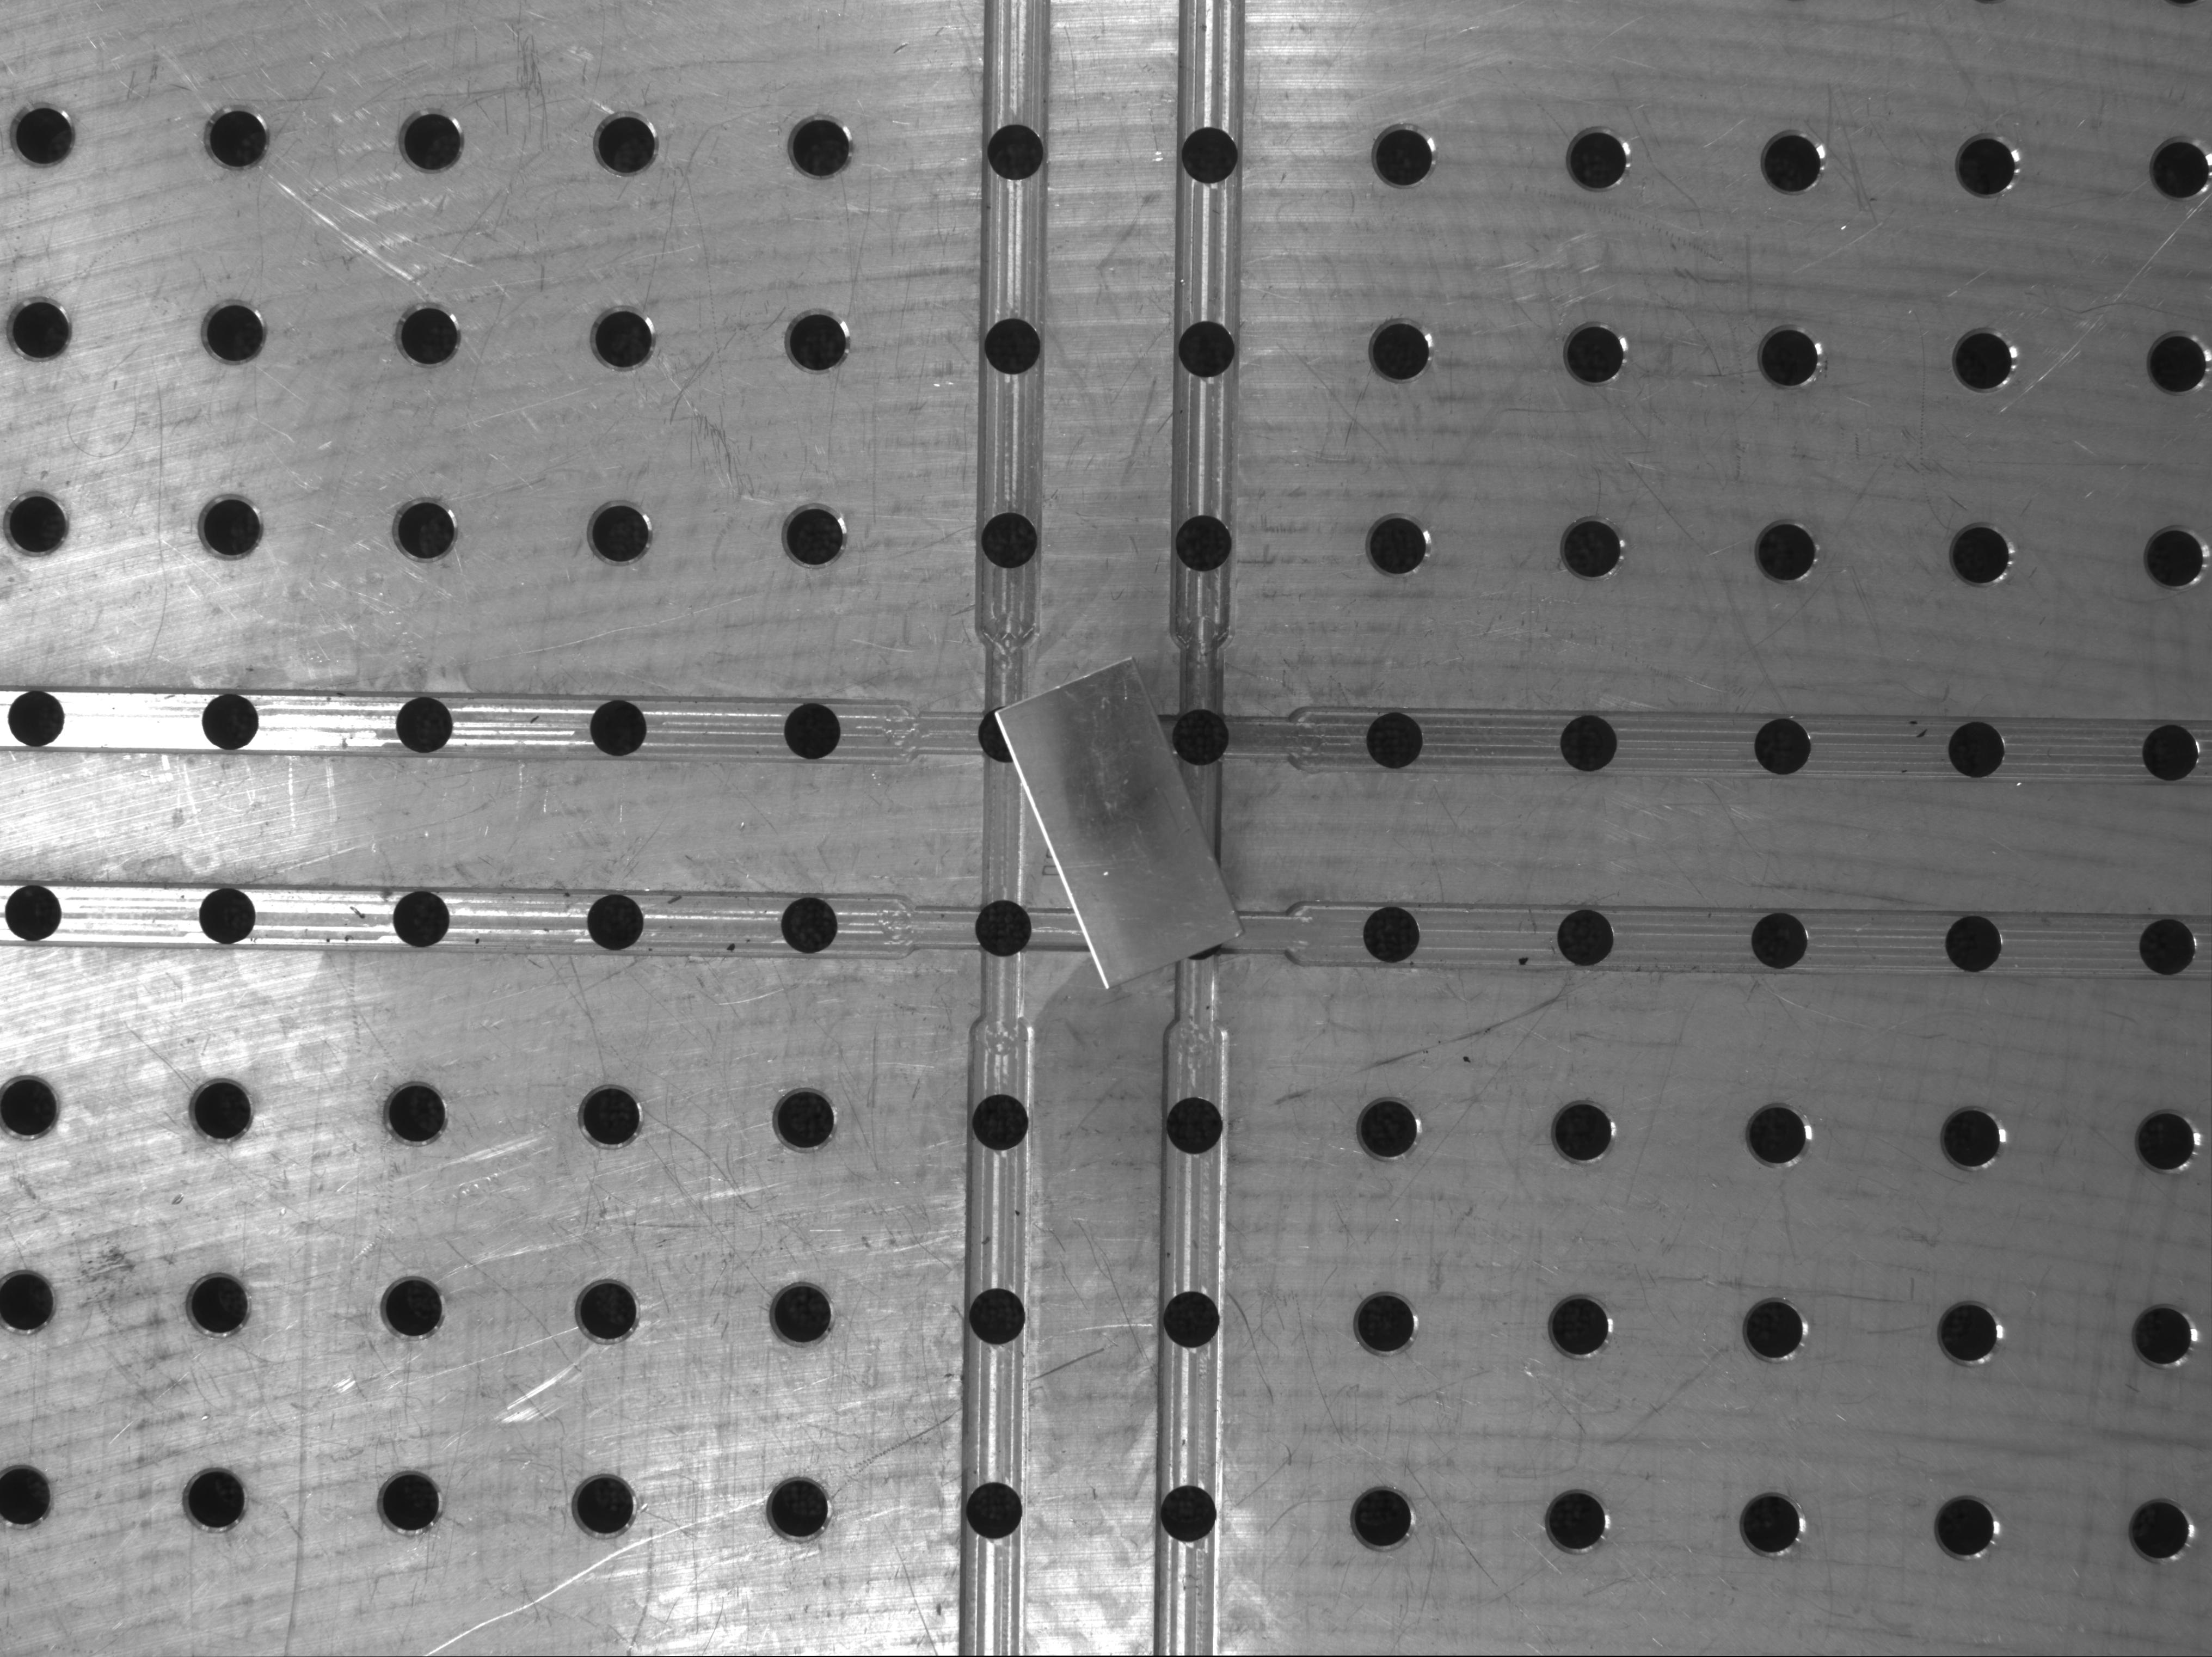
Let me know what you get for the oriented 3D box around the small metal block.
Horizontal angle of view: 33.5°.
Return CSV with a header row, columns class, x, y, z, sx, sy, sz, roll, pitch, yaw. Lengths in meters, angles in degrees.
class,x,y,z,sx,sy,sz,roll,pitch,yaw
small metal block,0.003,-0.001,0.636,0.025,0.050,0.050,-22,90,0
